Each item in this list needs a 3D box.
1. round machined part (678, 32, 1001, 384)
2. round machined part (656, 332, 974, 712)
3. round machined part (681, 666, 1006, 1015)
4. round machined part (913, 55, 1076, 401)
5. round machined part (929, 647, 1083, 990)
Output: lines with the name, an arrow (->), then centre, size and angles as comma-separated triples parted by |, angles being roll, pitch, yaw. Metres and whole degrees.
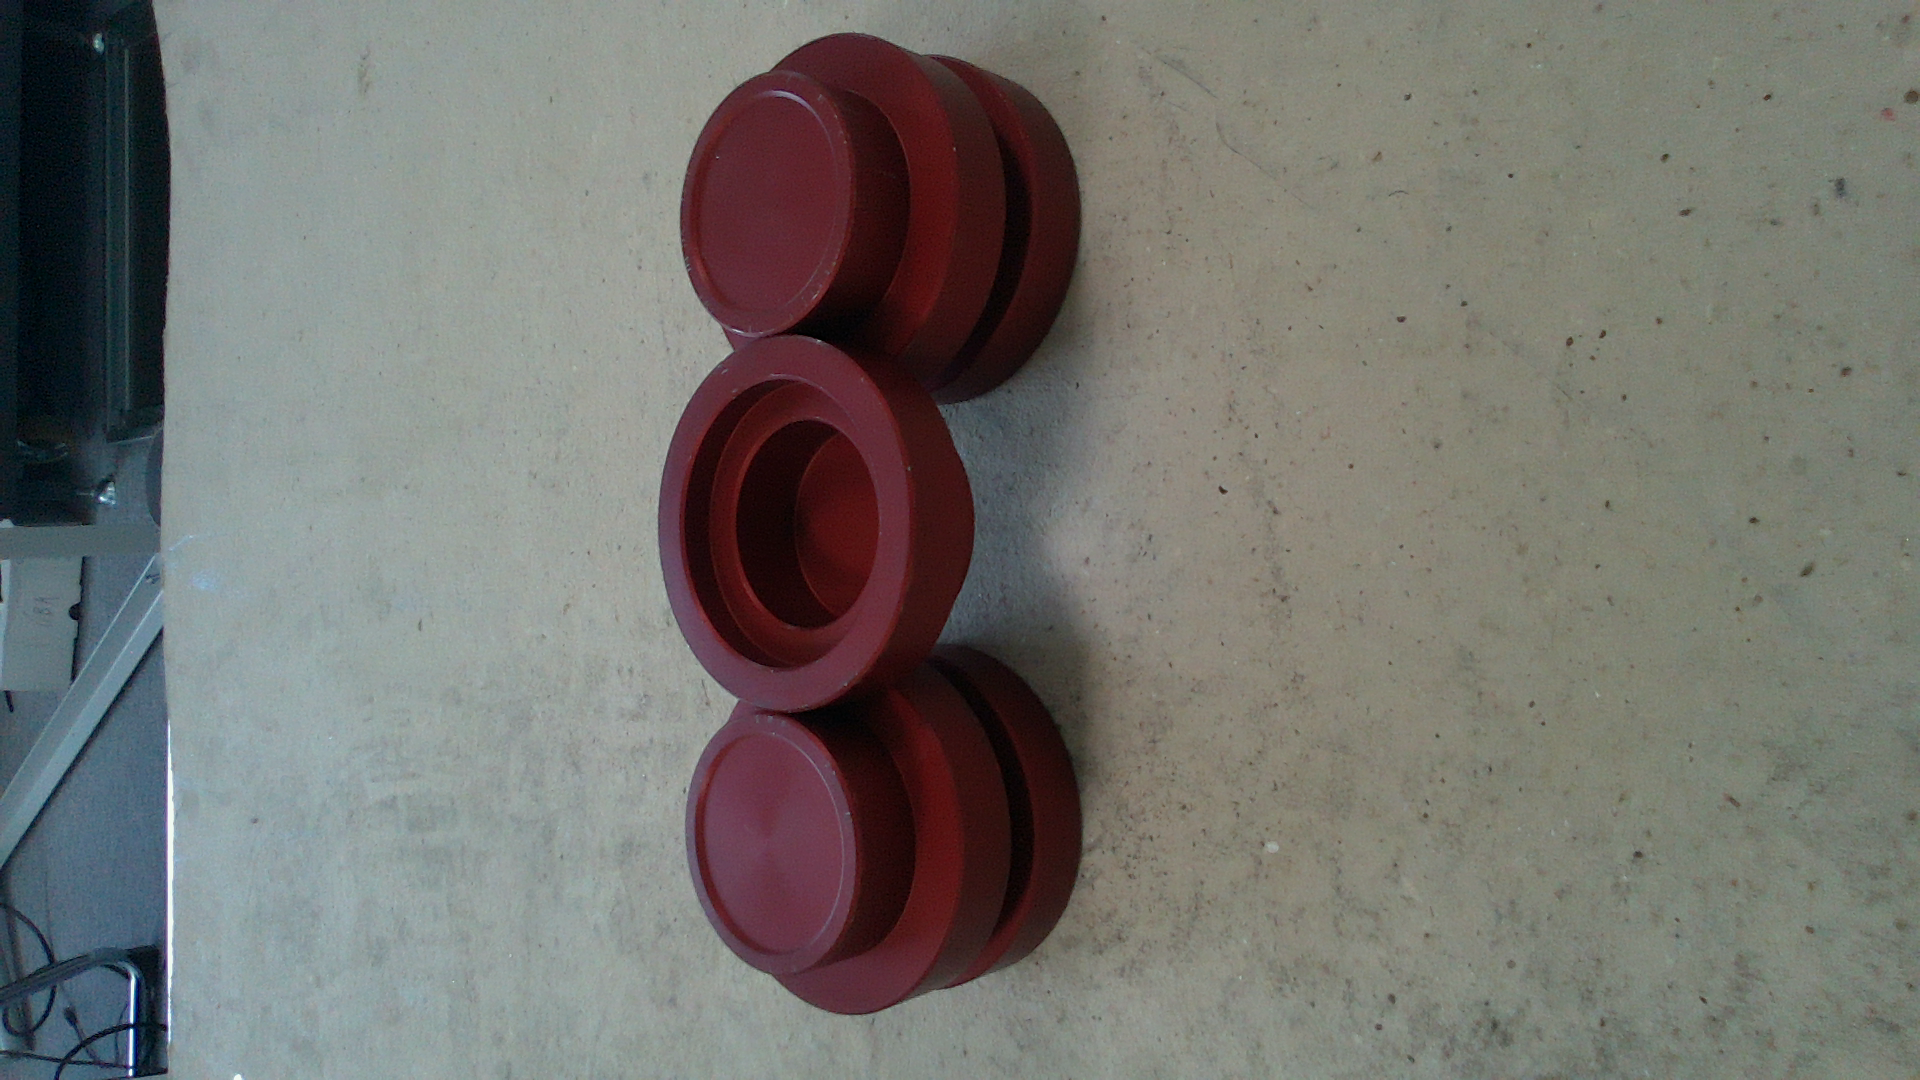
round machined part -> -0.039, -0.088, 0.374 | 0.098, 0.042, 0.098 | 1, 91, 41
round machined part -> -0.035, -0.005, 0.372 | 0.098, 0.042, 0.098 | 0, 90, 40
round machined part -> -0.038, 0.079, 0.372 | 0.098, 0.042, 0.098 | 1, 91, 41
round machined part -> -0.018, -0.090, 0.398 | 0.098, 0.042, 0.098 | 1, 91, 42
round machined part -> -0.016, 0.081, 0.399 | 0.098, 0.042, 0.098 | -1, 88, 41
